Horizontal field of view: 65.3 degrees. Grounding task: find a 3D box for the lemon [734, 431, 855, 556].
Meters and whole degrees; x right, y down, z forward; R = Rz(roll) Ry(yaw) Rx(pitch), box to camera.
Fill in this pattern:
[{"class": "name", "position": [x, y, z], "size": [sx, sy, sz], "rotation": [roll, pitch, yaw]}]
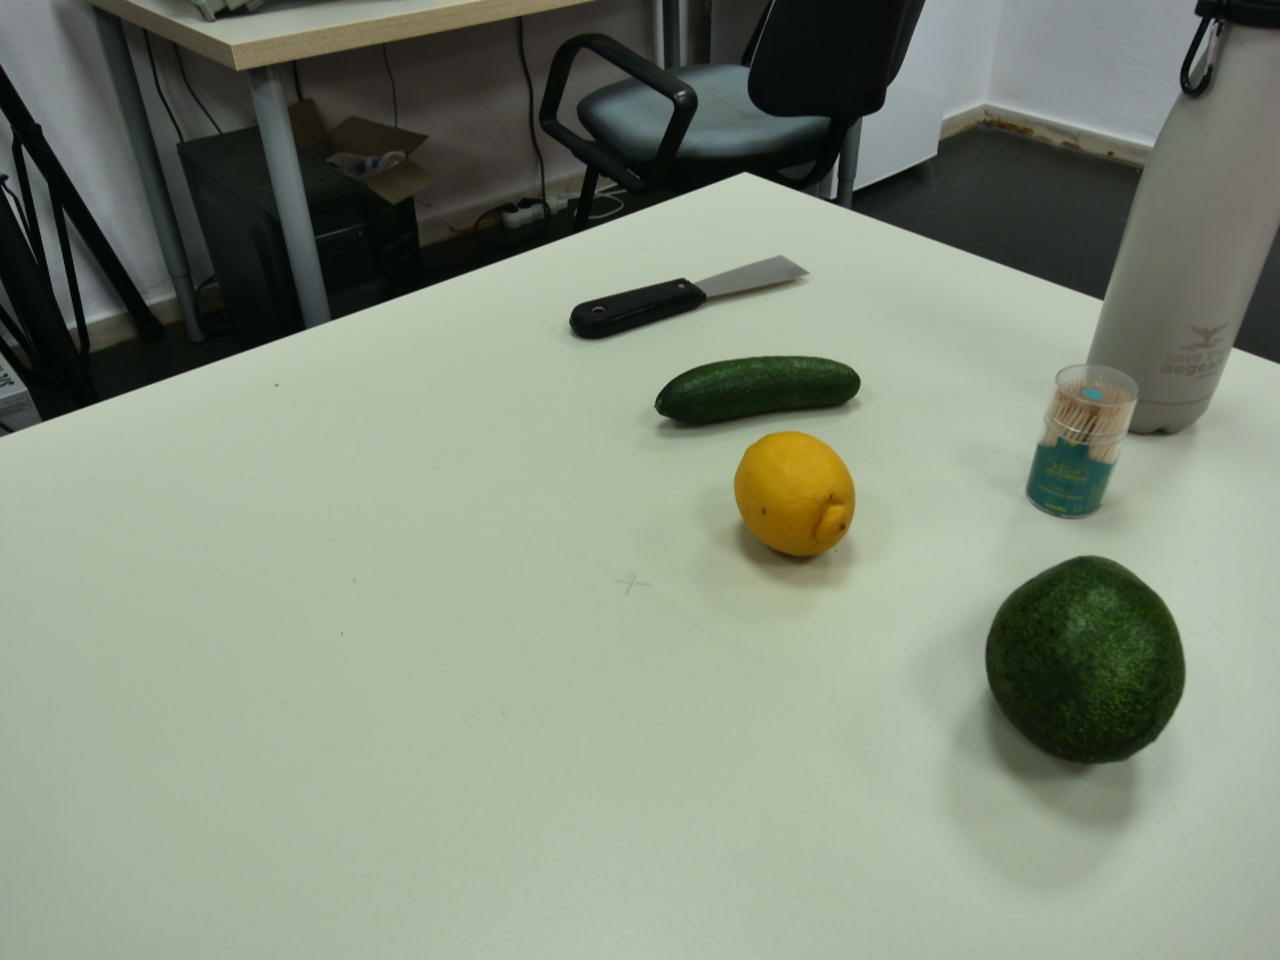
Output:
[{"class": "lemon", "position": [0.079, 0.008, 0.515], "size": [0.061, 0.059, 0.066], "rotation": [1, 36, 2]}]
